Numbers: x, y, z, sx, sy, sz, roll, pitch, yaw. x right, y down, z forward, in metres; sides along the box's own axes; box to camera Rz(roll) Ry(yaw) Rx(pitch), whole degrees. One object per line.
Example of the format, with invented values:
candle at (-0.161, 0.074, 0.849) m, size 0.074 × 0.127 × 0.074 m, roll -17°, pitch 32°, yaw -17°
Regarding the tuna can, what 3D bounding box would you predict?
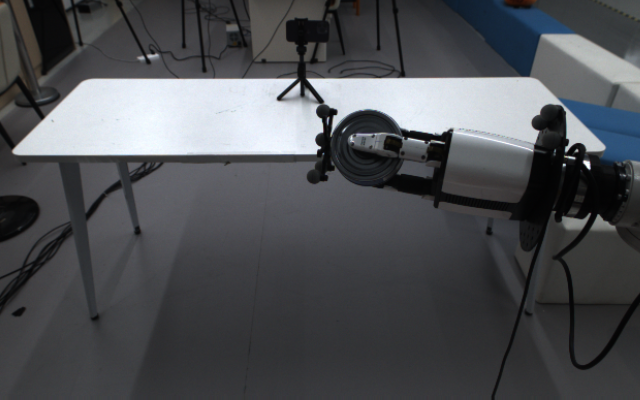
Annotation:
tuna can at (0.059, -0.058, 0.561) m, size 0.085 × 0.085 × 0.034 m, roll 9°, pitch -7°, yaw 10°
